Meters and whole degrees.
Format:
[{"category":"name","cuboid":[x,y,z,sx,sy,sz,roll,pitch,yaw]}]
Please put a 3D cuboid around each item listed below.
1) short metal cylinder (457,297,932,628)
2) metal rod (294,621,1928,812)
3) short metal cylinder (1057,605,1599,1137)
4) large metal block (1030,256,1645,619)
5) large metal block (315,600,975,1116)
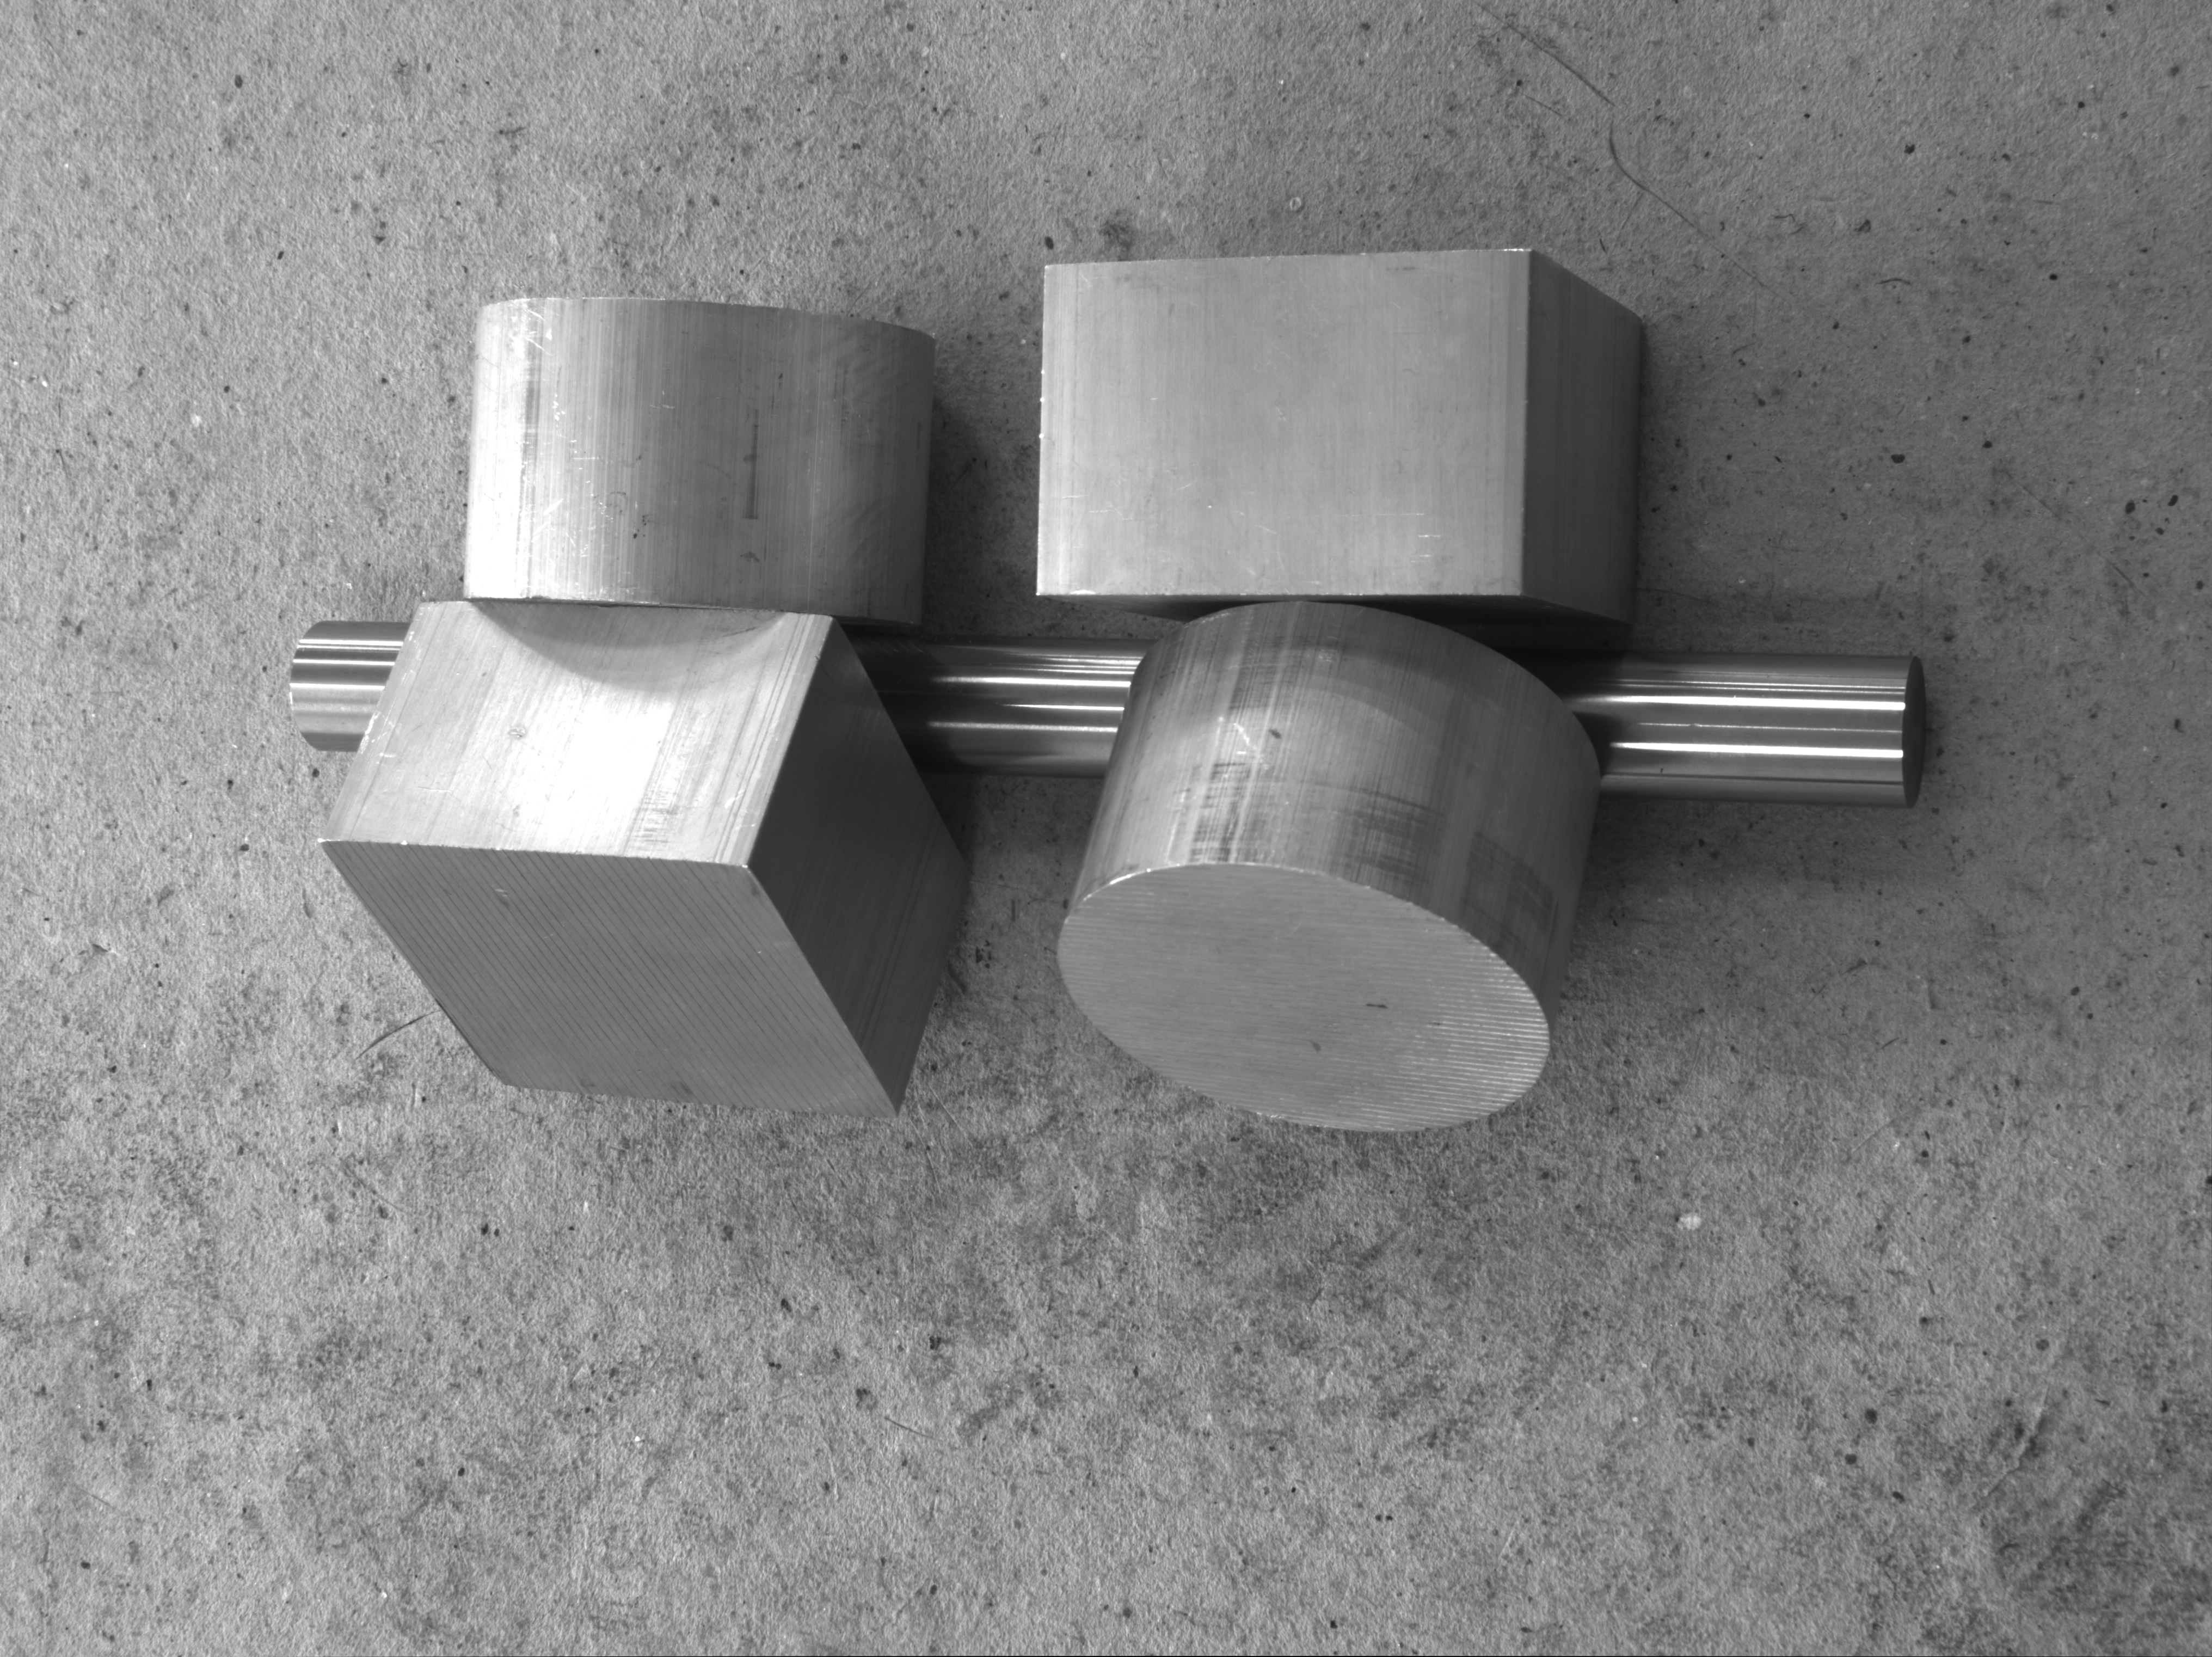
[{"category":"short metal cylinder","cuboid":[-0.072,-0.063,0.644,0.080,0.080,0.050,4,91,20]},{"category":"metal rod","cuboid":[-0.008,-0.021,0.652,0.299,0.025,0.025,2,91,20]},{"category":"short metal cylinder","cuboid":[0.037,0.008,0.598,0.080,0.080,0.050,2,56,20]},{"category":"large metal block","cuboid":[0.040,-0.062,0.603,0.080,0.080,0.050,2,90,20]},{"category":"large metal block","cuboid":[-0.078,0.006,0.639,0.080,0.080,0.050,3,57,20]}]
